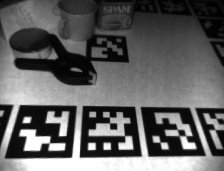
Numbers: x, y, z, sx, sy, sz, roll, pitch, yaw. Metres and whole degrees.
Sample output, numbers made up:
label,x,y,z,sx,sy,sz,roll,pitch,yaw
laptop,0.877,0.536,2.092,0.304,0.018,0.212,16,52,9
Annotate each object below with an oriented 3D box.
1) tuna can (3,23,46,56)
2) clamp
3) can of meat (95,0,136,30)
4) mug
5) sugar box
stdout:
label,x,y,z,sx,sy,sz,roll,pitch,yaw
tuna can,-0.194,-0.099,0.485,0.086,0.034,0.085,4,54,-4
clamp,-0.119,-0.048,0.461,0.164,0.036,0.122,35,51,13
can of meat,0.004,-0.194,0.562,0.102,0.084,0.057,-3,51,-10
mug,-0.096,-0.166,0.517,0.093,0.082,0.117,24,55,11
sugar box,-0.188,-0.181,0.521,0.178,0.093,0.045,-28,58,-27
